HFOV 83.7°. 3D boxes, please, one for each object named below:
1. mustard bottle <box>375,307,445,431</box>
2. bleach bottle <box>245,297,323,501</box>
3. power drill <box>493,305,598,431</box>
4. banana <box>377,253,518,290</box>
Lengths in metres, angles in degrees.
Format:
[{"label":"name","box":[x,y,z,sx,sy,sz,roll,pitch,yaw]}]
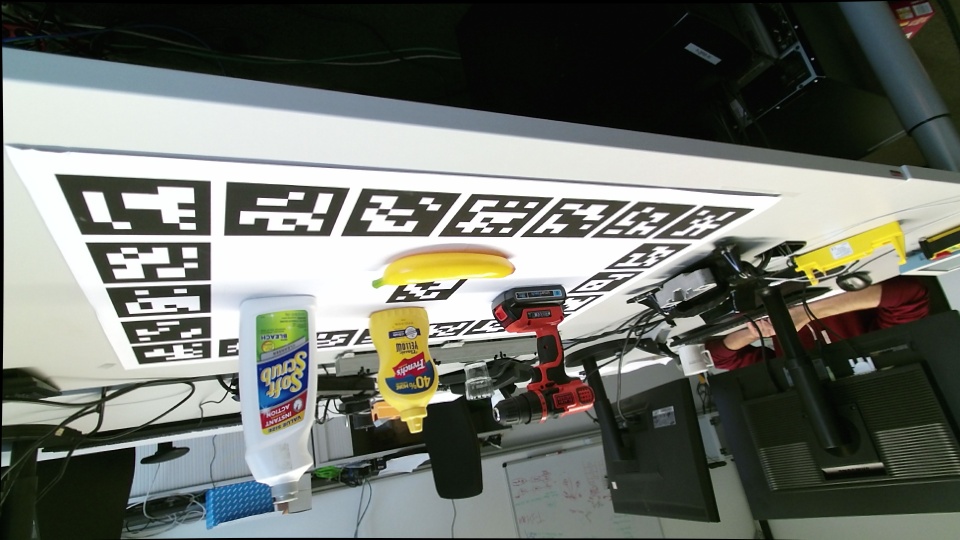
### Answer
[{"label":"mustard bottle","box":[-0.107,0.155,0.842,0.096,0.190,0.058,-4,156,-19]},{"label":"bleach bottle","box":[-0.246,0.160,0.691,0.103,0.249,0.068,3,153,-34]},{"label":"power drill","box":[0.088,0.158,0.878,0.185,0.186,0.057,-8,158,-23]},{"label":"banana","box":[-0.033,0.004,0.695,0.198,0.038,0.074,-7,155,-23]}]
